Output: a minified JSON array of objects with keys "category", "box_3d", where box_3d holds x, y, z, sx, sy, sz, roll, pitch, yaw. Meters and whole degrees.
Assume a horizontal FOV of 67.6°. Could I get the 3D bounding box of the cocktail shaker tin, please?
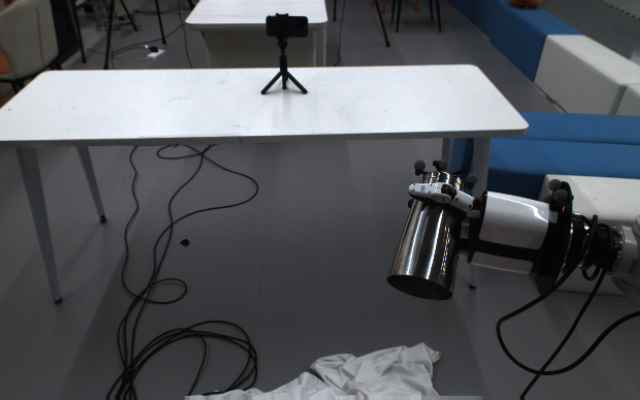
[{"category":"cocktail shaker tin","box_3d":[0.164,0.043,0.695,0.093,0.093,0.170,12,65,14]}]
